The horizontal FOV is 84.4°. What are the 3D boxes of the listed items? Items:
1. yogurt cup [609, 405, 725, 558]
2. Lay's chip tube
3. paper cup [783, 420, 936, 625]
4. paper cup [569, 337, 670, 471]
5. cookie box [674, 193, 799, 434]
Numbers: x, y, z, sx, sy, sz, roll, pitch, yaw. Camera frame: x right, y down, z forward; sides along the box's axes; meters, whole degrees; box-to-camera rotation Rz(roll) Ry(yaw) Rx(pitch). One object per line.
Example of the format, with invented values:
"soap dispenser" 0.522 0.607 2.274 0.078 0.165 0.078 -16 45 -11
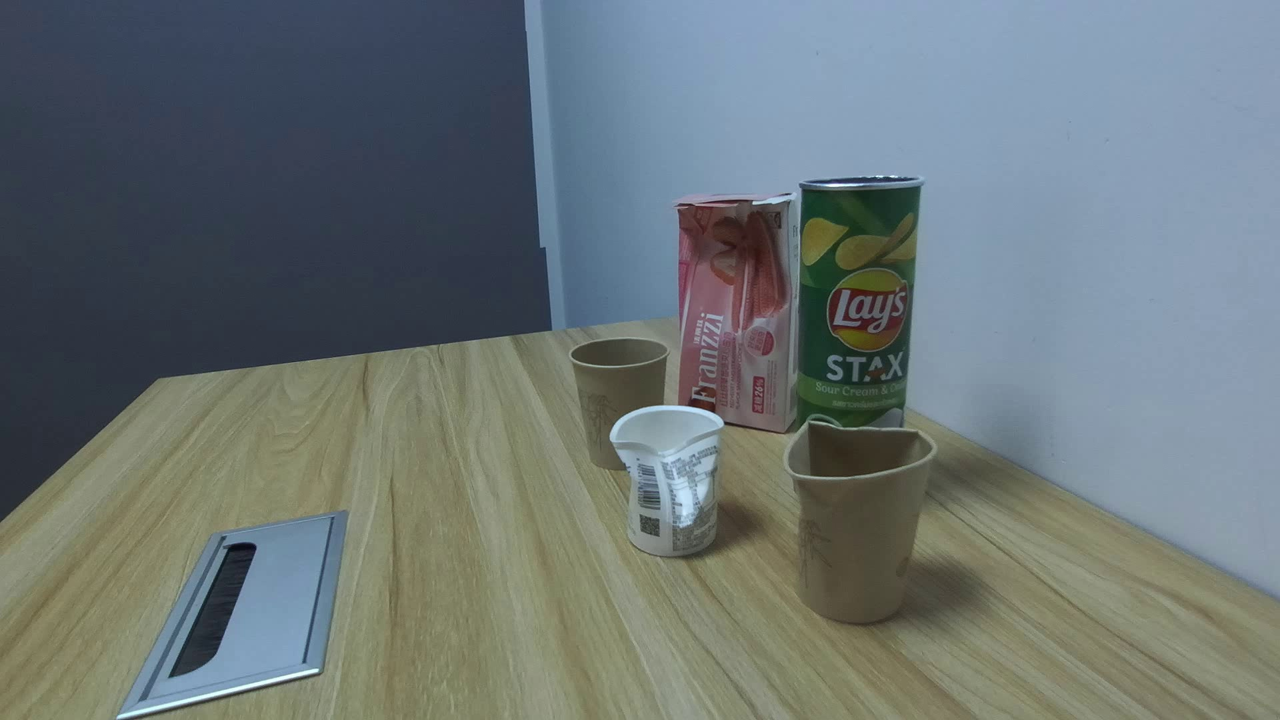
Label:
"yogurt cup" 0.017 0.070 0.416 0.067 0.070 0.067 -4 18 2
"Lay's chip tube" 0.132 -0.009 0.436 0.071 0.202 0.071 -3 17 1
"paper cup" 0.105 0.079 0.345 0.071 0.084 0.066 3 20 19
"paper cup" -0.013 0.034 0.517 0.075 0.082 0.075 -2 16 1
"cookie box" 0.076 -0.038 0.570 0.118 0.184 0.056 8 18 35
